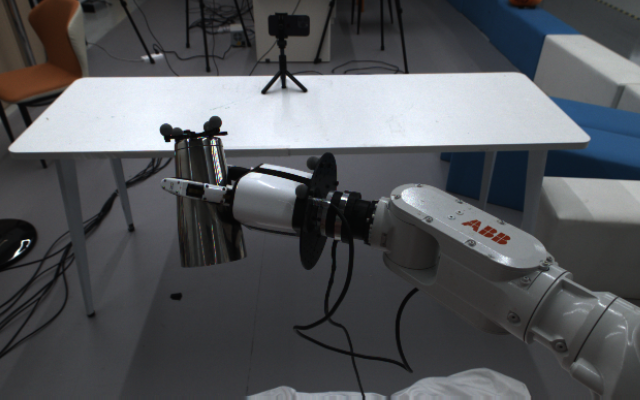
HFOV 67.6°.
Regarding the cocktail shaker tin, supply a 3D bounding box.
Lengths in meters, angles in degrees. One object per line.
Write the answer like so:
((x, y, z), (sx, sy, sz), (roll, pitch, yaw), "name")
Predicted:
((-0.160, 0.002, 0.678), (0.093, 0.170, 0.093), (-8, 1, 0), "cocktail shaker tin")
